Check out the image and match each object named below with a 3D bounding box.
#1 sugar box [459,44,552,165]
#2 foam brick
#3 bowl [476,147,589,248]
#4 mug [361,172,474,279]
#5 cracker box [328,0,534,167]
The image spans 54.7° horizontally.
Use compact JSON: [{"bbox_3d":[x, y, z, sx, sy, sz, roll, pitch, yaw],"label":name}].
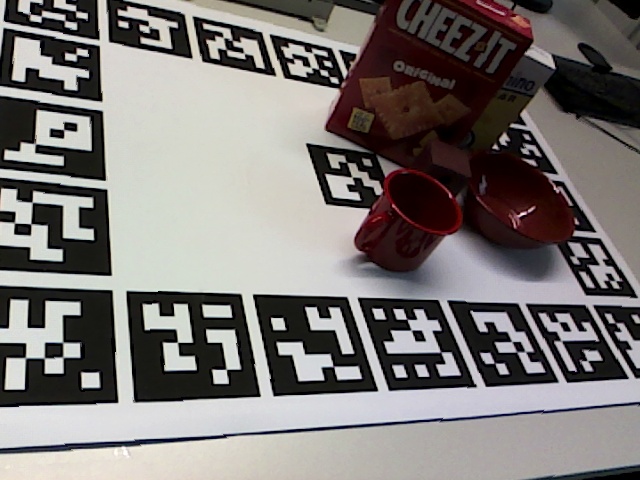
[{"bbox_3d":[0.217,-0.190,0.829,0.092,0.176,0.045,20,43,-12],"label":"sugar box"},{"bbox_3d":[0.140,-0.073,0.756,0.052,0.078,0.051,16,44,-16],"label":"foam brick"},{"bbox_3d":[0.258,-0.044,0.789,0.161,0.055,0.162,16,45,-17],"label":"bowl"},{"bbox_3d":[0.094,-0.012,0.657,0.116,0.081,0.094,-5,45,-31],"label":"mug"},{"bbox_3d":[0.129,-0.197,0.760,0.164,0.214,0.072,26,40,-6],"label":"cracker box"}]
